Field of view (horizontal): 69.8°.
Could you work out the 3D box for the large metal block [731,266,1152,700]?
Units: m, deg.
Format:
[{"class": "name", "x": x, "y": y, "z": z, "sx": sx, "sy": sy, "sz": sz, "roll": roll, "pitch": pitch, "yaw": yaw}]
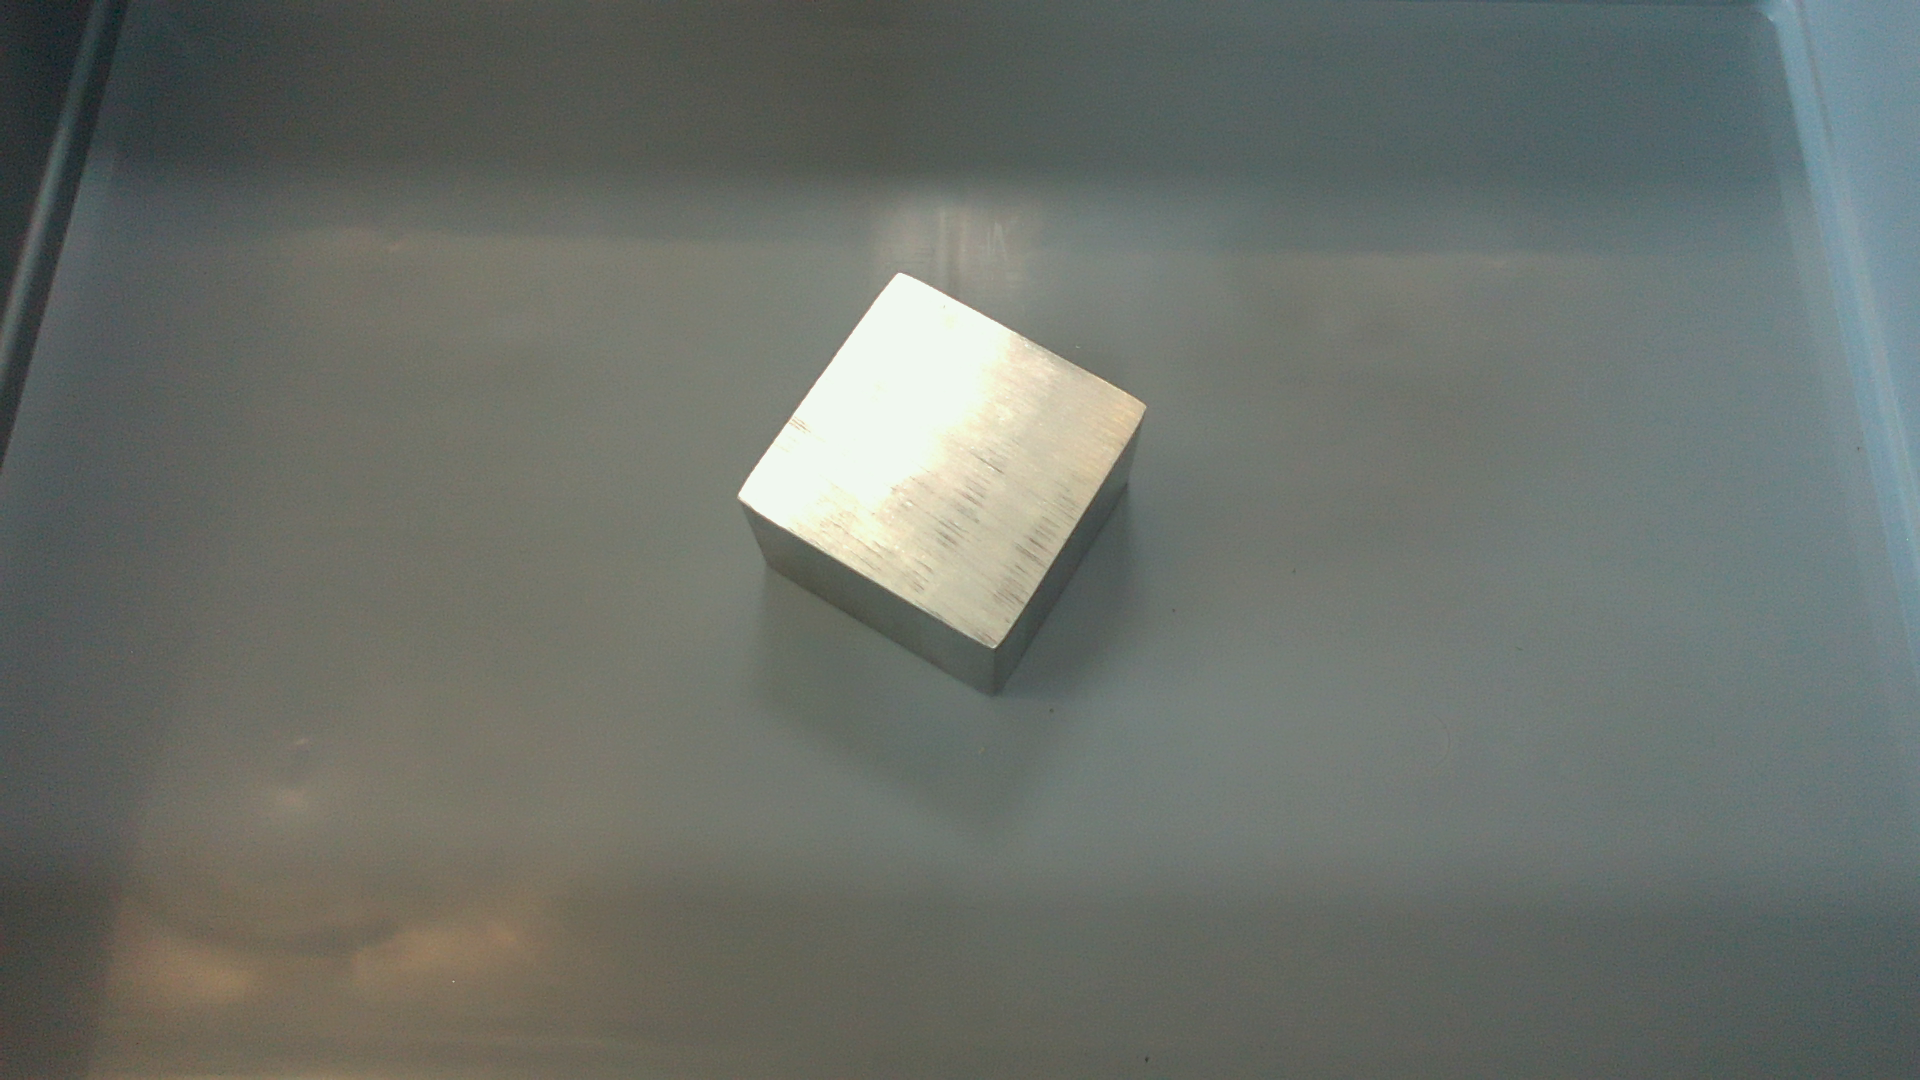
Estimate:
[{"class": "large metal block", "x": -0.004, "y": -0.015, "z": 0.384, "sx": 0.080, "sy": 0.050, "sz": 0.080, "roll": 30, "pitch": 72, "yaw": 10}]
